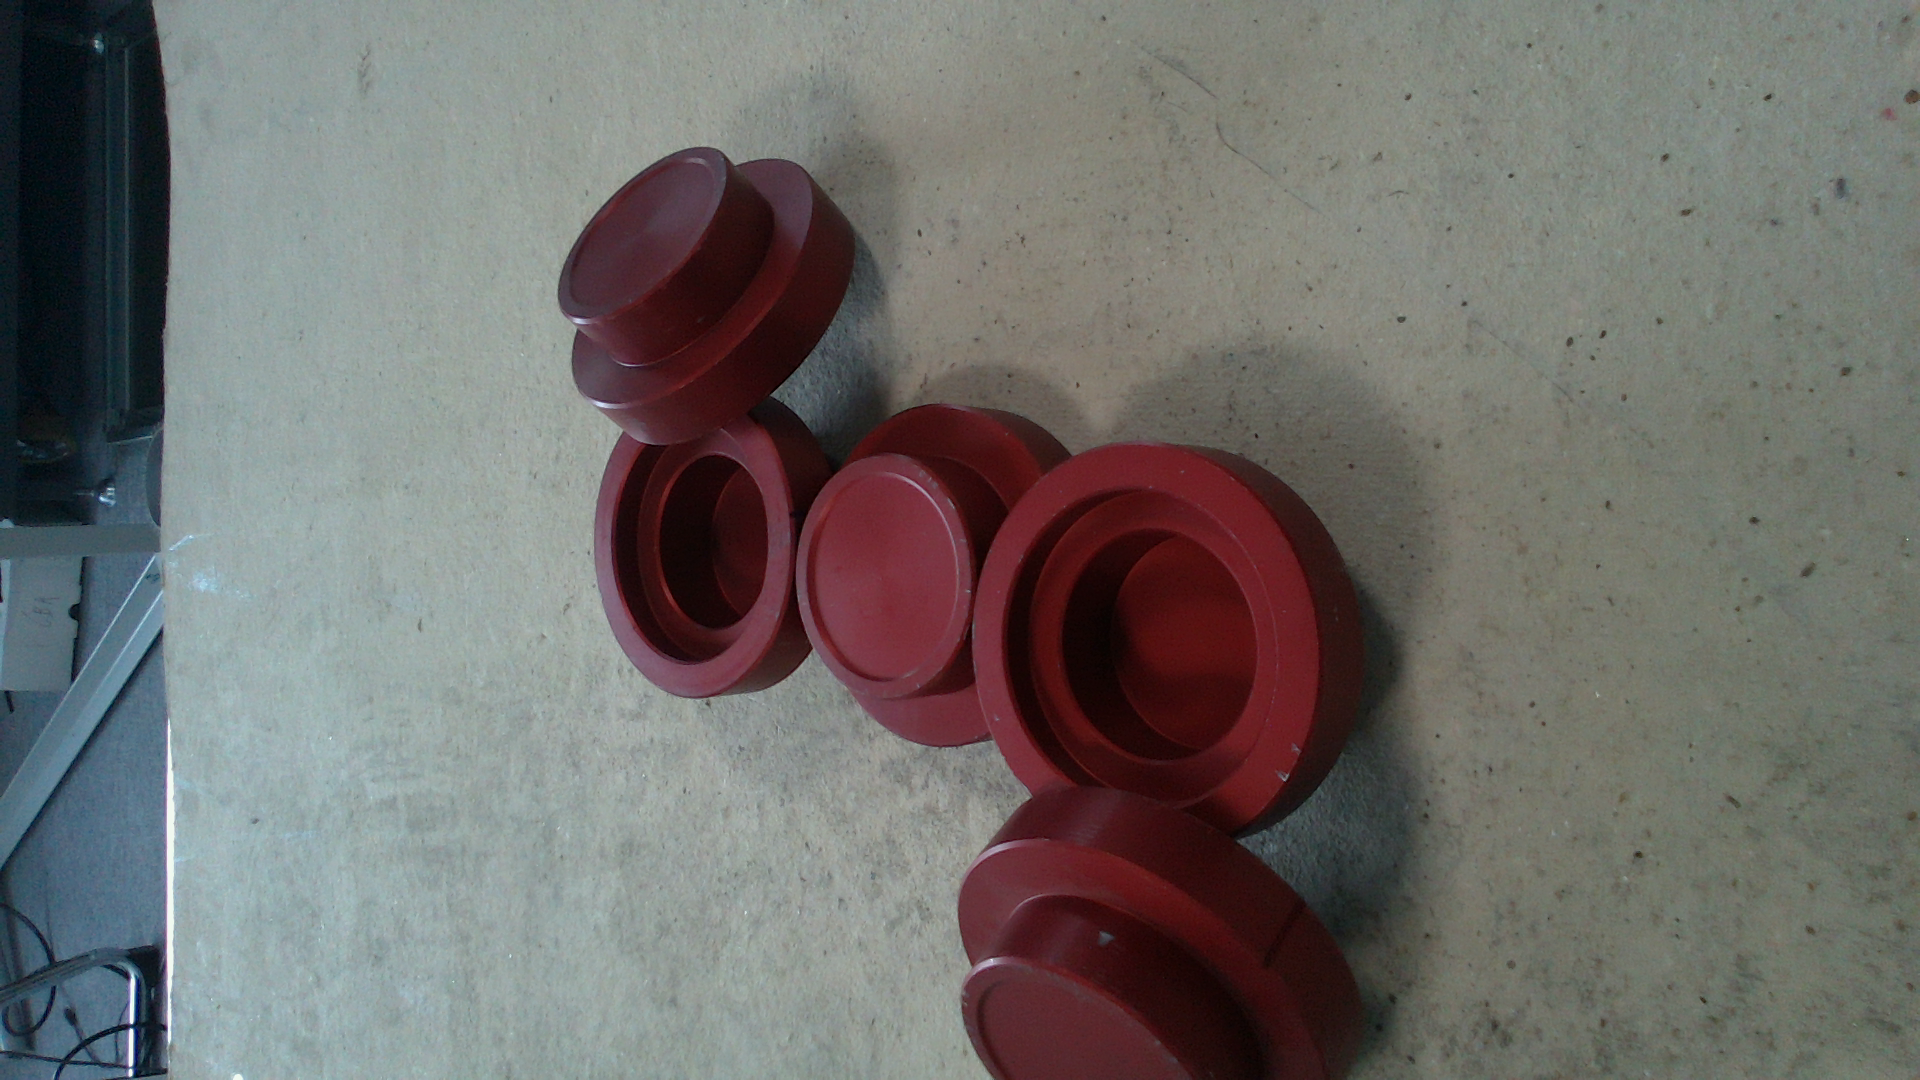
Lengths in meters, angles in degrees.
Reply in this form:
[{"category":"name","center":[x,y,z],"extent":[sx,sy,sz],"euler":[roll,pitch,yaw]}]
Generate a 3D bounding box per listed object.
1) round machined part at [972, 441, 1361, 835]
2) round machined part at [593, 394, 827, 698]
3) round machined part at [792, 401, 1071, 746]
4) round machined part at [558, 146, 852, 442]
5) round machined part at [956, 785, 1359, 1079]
[{"category":"round machined part","center":[0.053,0.025,0.338],"extent":[0.098,0.042,0.098],"euler":[0,91,41]},{"category":"round machined part","center":[-0.073,0.000,0.445],"extent":[0.098,0.042,0.098],"euler":[0,91,41]},{"category":"round machined part","center":[-0.010,0.009,0.390],"extent":[0.098,0.042,0.098],"euler":[-3,86,41]},{"category":"round machined part","center":[-0.085,-0.082,0.426],"extent":[0.098,0.042,0.098],"euler":[-21,48,25]},{"category":"round machined part","center":[0.039,0.109,0.322],"extent":[0.098,0.042,0.098],"euler":[22,132,27]}]
